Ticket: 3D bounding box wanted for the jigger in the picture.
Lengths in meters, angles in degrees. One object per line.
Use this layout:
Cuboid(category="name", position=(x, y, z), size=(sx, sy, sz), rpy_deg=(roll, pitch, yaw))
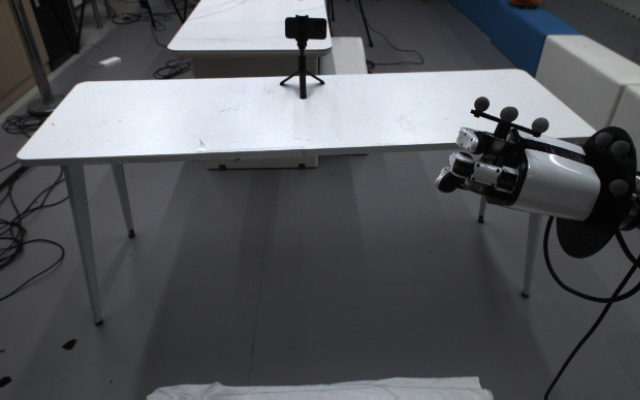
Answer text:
Cuboid(category="jigger", position=(0.200, -0.043, 0.577), size=(0.043, 0.071, 0.043), rpy_deg=(18, 17, -6))
